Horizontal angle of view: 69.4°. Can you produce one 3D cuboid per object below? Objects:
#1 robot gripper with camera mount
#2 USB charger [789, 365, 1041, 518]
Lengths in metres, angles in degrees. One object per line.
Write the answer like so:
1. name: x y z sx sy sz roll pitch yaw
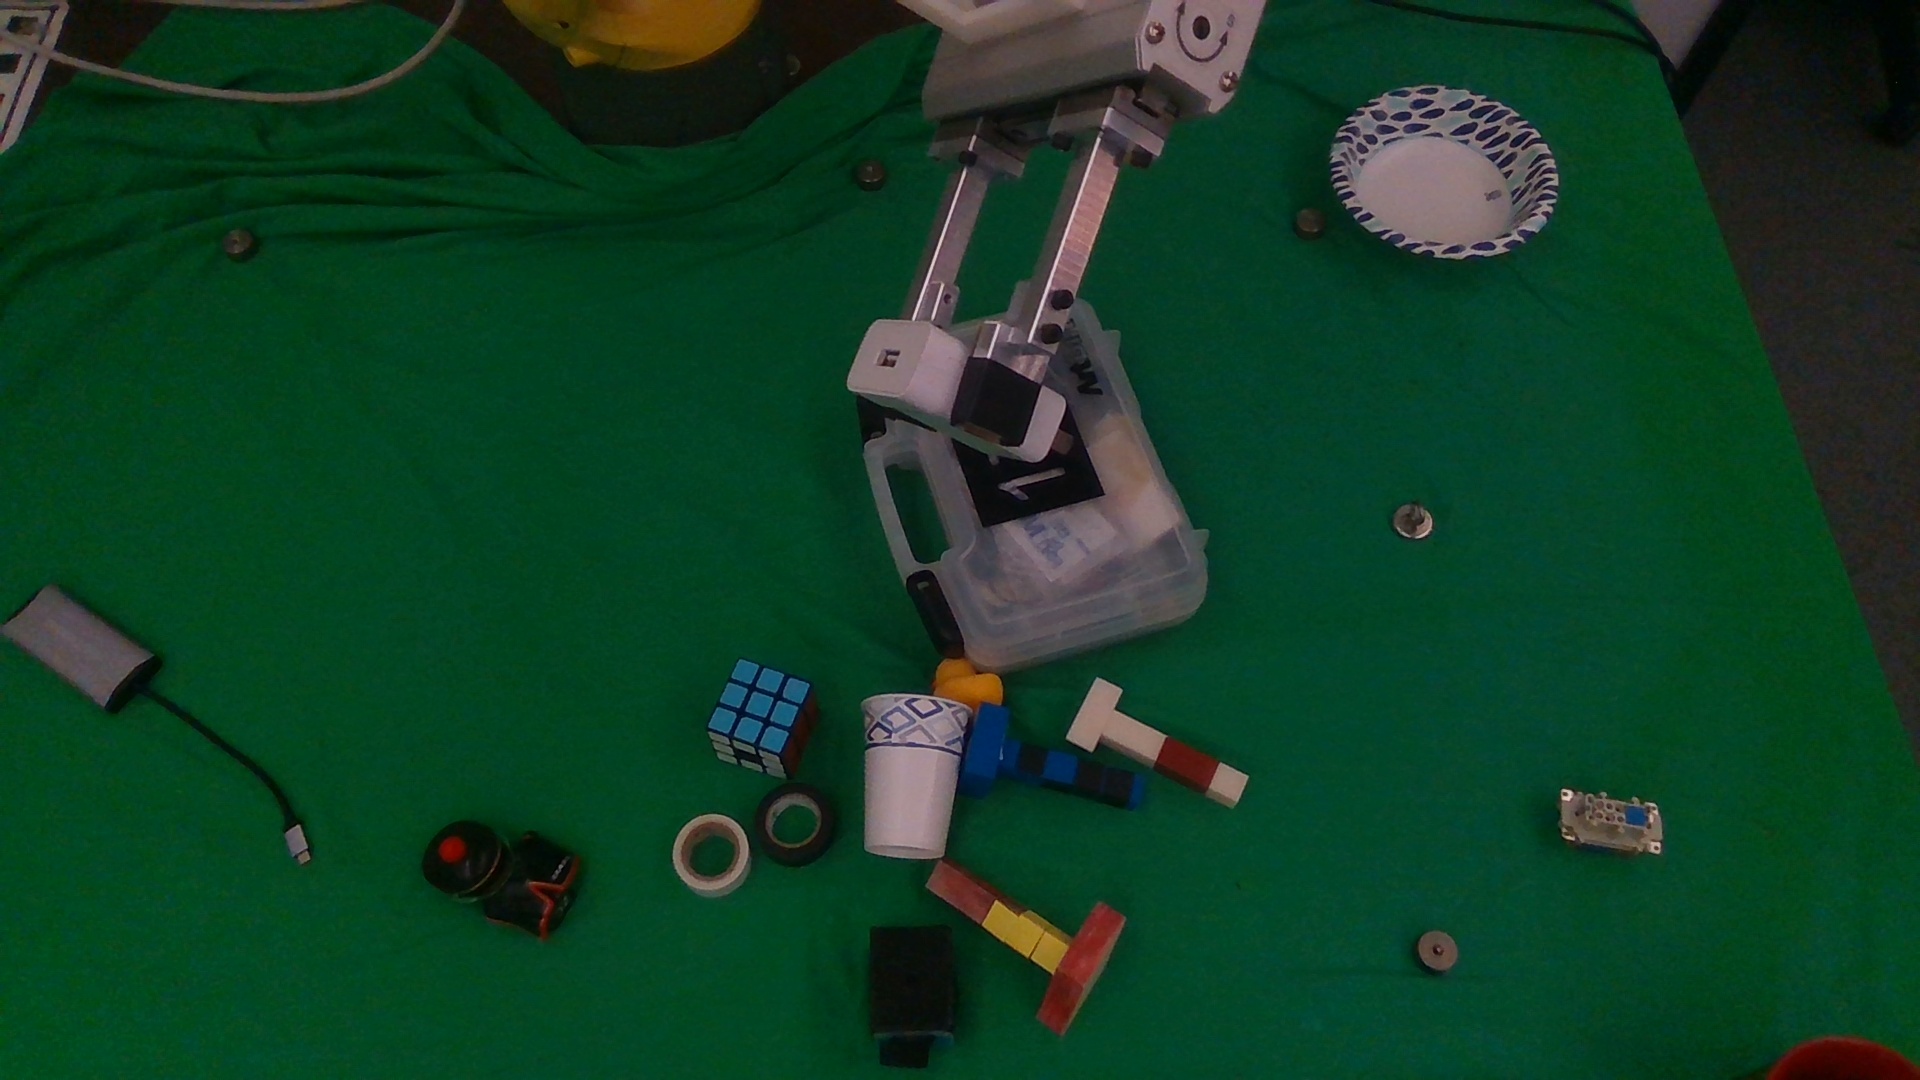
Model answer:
1. robot gripper with camera mount: -0.051 -0.122 0.368 0.193 0.119 0.158 23 87 -32
2. USB charger: -0.011 -0.026 0.414 0.075 0.045 0.029 18 97 -25
